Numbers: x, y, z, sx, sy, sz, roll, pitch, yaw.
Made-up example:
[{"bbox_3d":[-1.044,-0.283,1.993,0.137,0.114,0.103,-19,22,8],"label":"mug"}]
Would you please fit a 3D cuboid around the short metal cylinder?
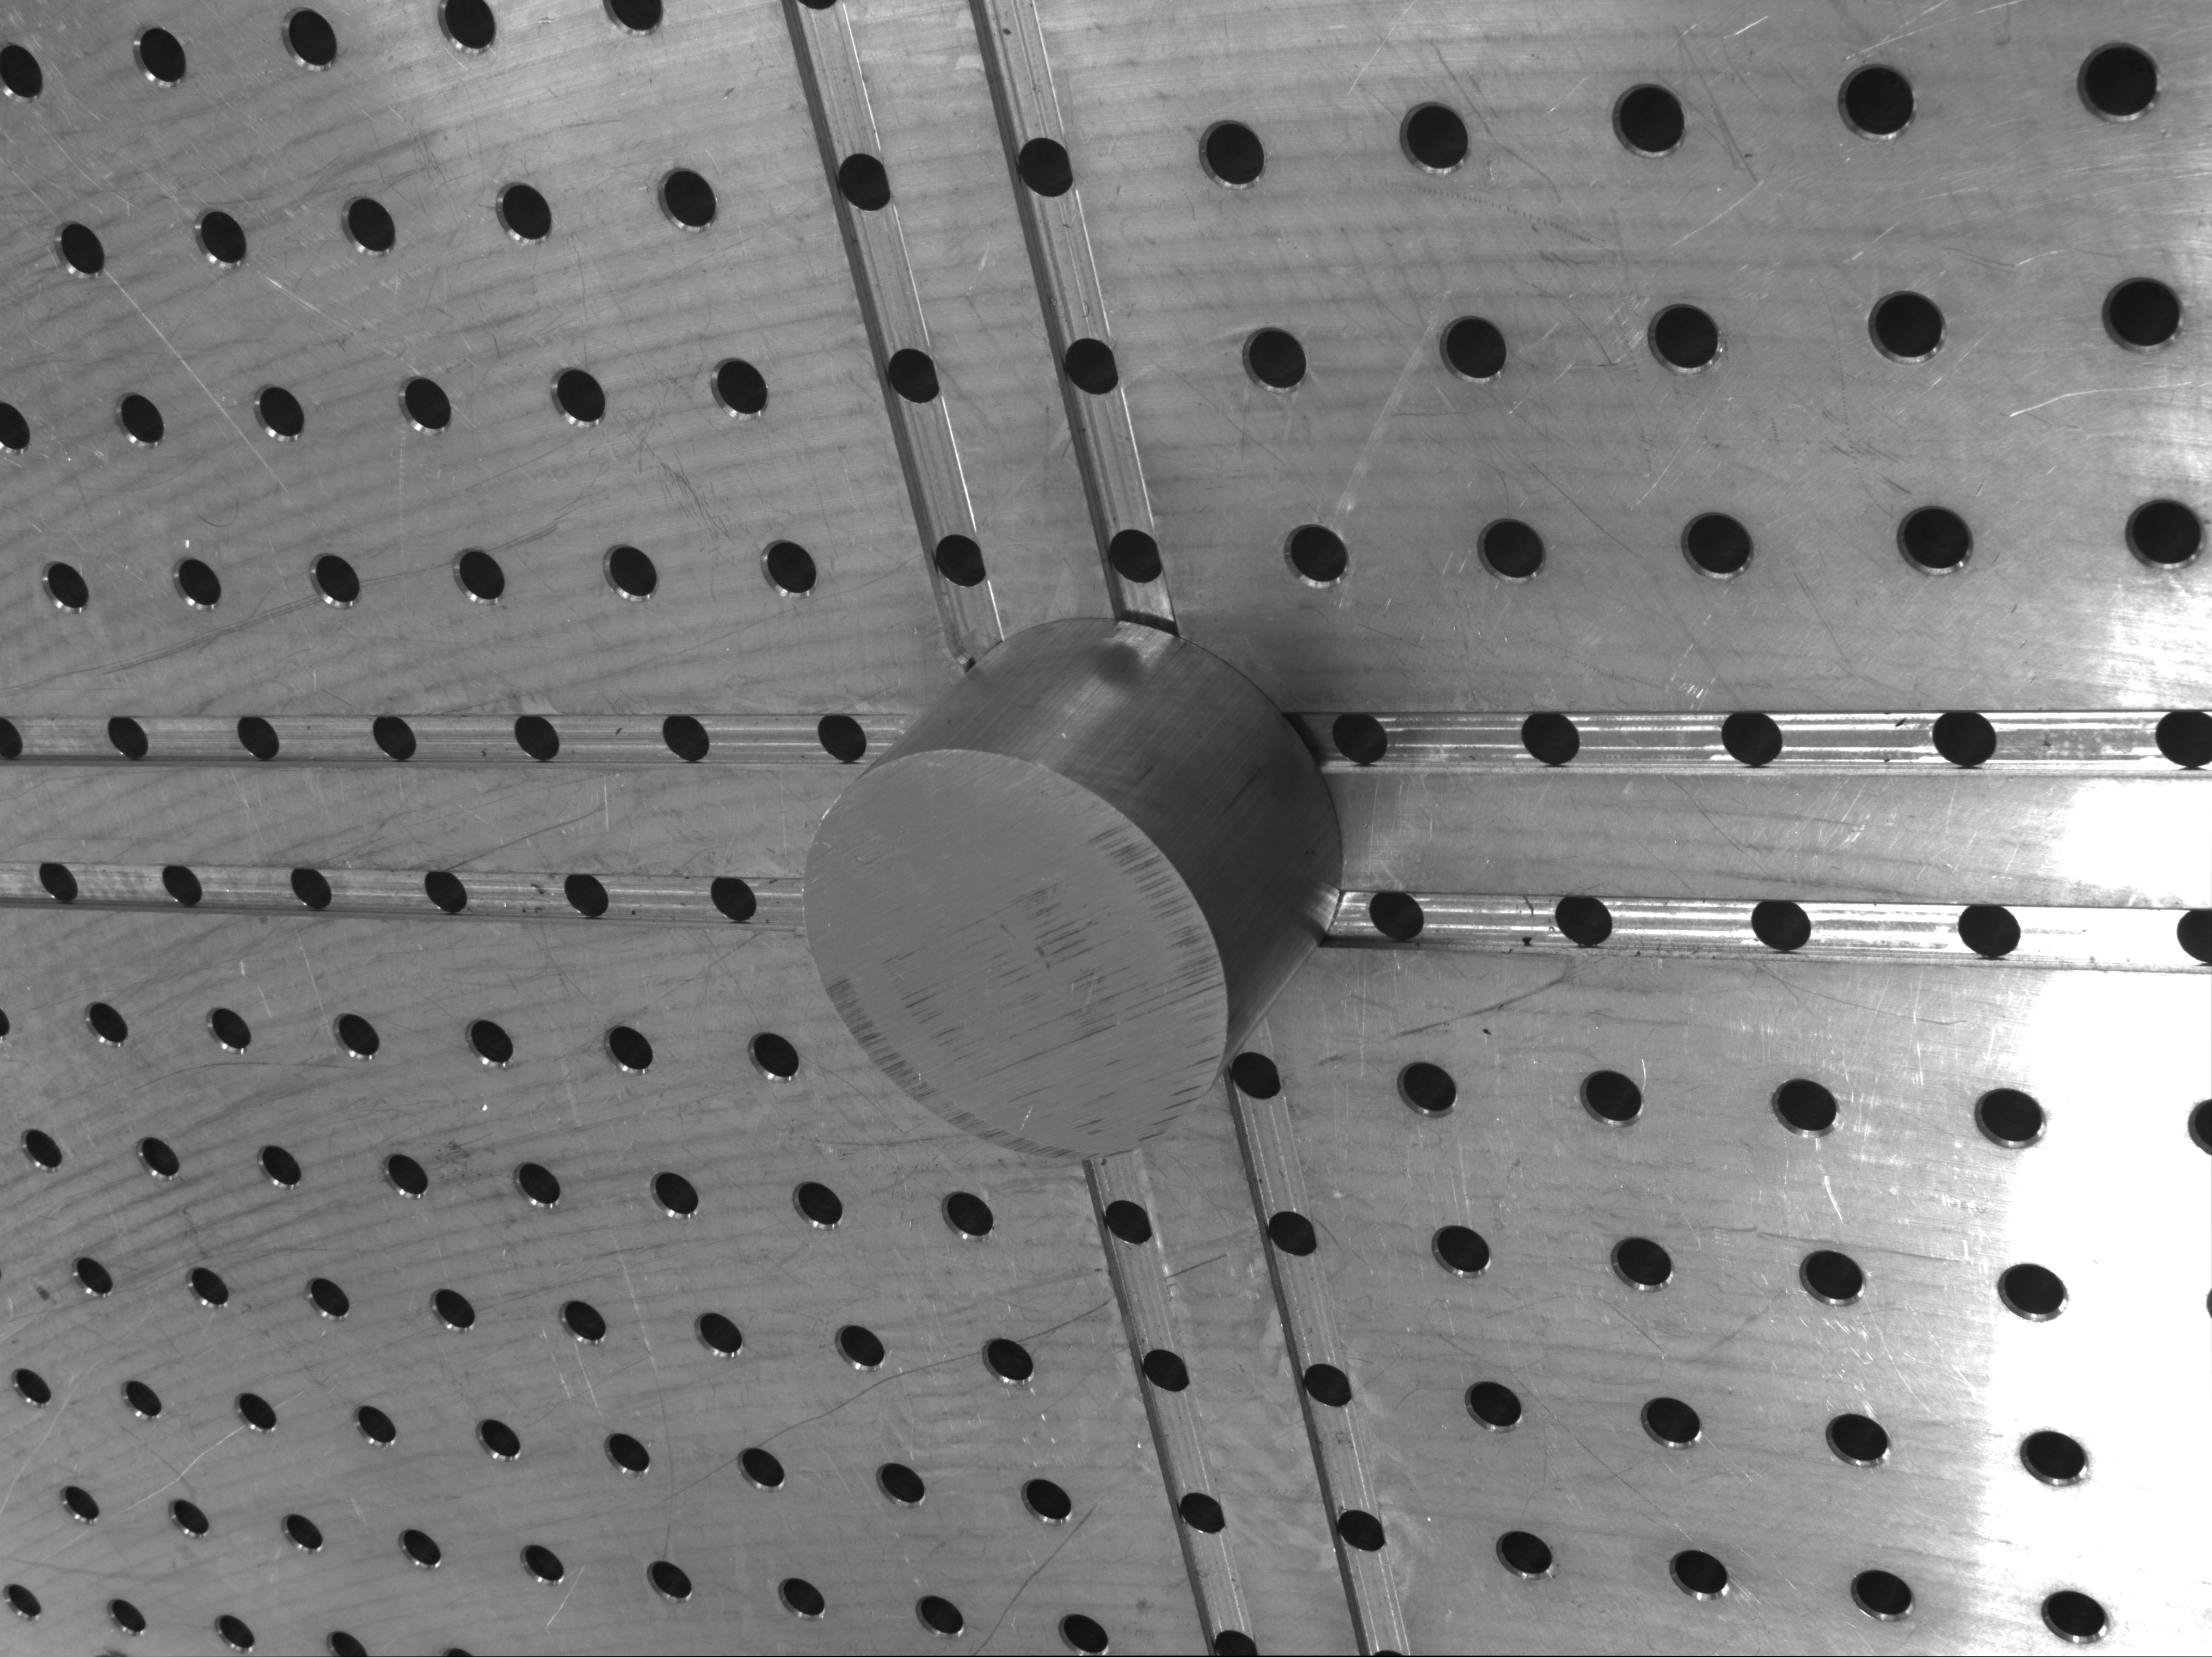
[{"bbox_3d":[-0.006,0.011,0.640,0.080,0.050,0.080,13,124,21],"label":"short metal cylinder"}]
